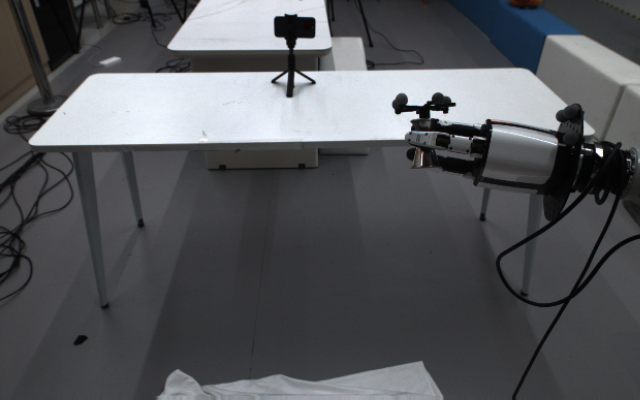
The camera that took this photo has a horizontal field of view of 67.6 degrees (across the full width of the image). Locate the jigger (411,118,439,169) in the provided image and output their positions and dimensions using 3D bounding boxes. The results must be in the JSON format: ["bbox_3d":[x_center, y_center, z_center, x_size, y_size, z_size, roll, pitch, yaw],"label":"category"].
[{"bbox_3d":[0.149,-0.081,0.691,0.043,0.071,0.043,-2,3,0],"label":"jigger"}]
